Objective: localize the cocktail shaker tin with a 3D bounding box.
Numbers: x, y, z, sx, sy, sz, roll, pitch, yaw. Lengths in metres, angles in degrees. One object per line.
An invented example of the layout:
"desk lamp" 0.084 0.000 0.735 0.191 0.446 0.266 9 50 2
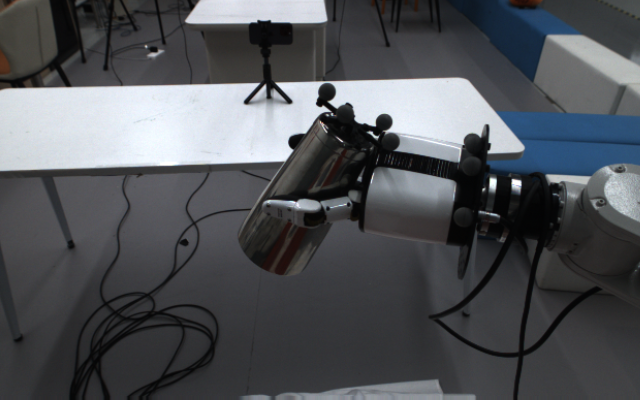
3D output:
"cocktail shaker tin" -0.012 -0.012 0.529 0.093 0.170 0.093 26 32 -17
